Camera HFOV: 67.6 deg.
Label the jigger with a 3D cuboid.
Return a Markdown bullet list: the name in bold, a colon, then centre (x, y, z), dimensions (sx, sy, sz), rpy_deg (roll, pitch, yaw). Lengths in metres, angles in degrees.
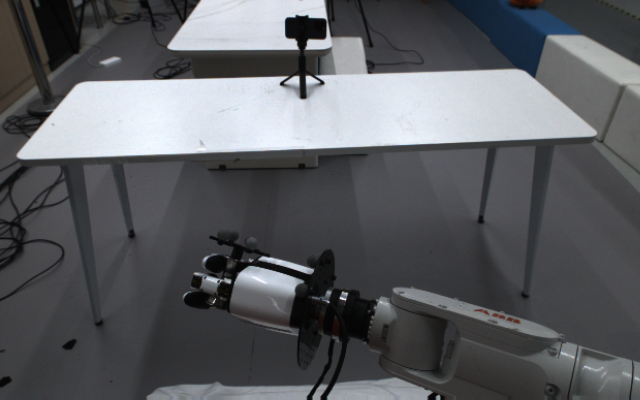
- **jigger**: centre (-0.126, 0.113, 0.668), dimensions (0.043, 0.071, 0.043), rpy_deg (18, -6, 2)
